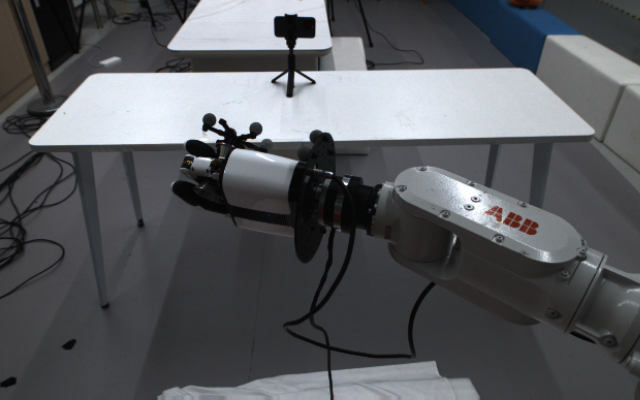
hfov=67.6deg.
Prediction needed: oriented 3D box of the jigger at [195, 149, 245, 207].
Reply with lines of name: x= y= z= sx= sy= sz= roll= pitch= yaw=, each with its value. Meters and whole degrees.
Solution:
jigger: x=-0.125 y=-0.033 z=0.620 sx=0.043 sy=0.043 sz=0.071 roll=13 pitch=70 yaw=16
